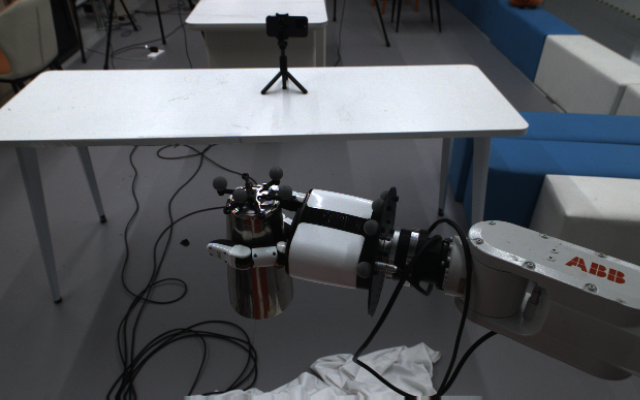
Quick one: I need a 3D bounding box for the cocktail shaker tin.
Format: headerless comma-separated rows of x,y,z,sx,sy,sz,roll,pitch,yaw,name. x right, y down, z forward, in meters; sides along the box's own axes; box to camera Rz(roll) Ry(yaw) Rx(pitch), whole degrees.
-0.078,0.064,0.639,0.093,0.170,0.093,1,39,-1,cocktail shaker tin
